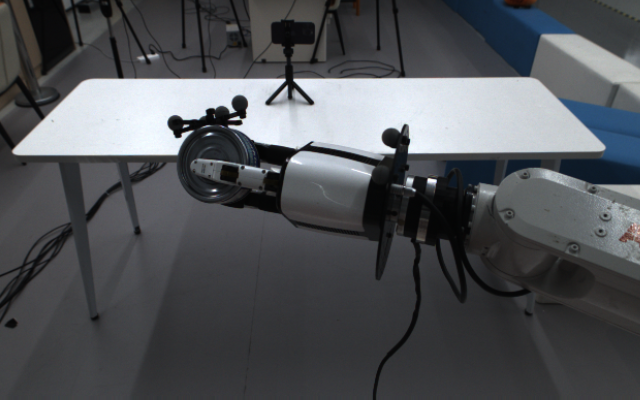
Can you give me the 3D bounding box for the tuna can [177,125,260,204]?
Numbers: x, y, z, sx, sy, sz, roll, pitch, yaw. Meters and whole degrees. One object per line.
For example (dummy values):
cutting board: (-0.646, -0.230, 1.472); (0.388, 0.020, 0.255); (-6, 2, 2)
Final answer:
tuna can: (-0.107, -0.033, 0.525); (0.085, 0.085, 0.034); (12, 3, 14)
